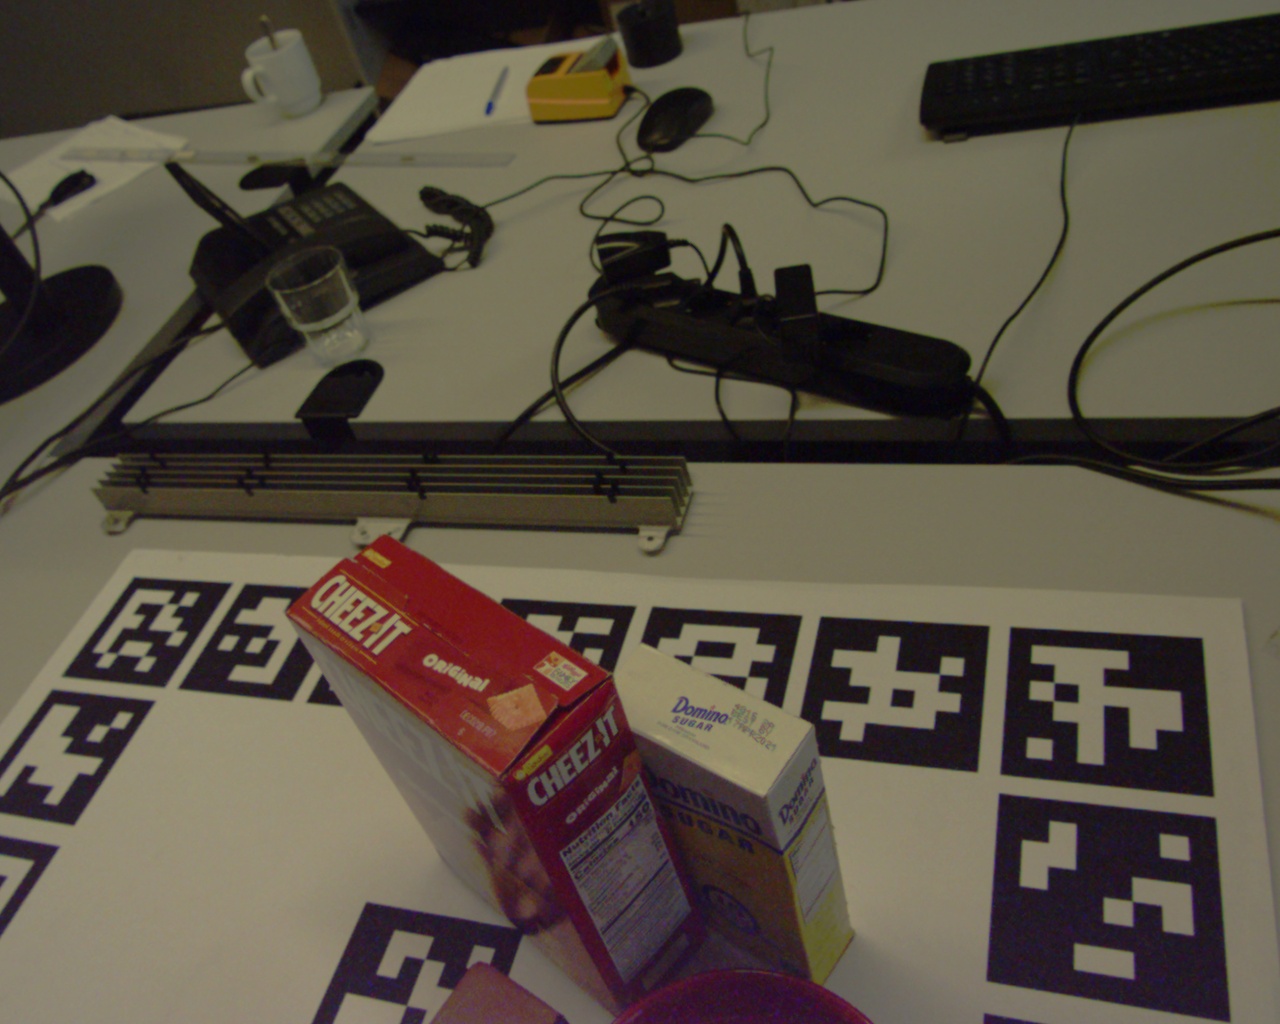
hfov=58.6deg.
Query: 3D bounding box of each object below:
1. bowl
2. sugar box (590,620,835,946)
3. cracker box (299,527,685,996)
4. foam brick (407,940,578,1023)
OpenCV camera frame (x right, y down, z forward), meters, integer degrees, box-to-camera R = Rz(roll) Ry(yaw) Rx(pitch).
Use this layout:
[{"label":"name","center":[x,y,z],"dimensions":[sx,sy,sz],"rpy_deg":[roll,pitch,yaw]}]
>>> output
[{"label":"bowl","center":[0.037,0.277,0.493],"dimensions":[0.162,0.055,0.162],"rpy_deg":[-11,43,10]},{"label":"sugar box","center":[0.038,0.138,0.565],"dimensions":[0.094,0.175,0.045],"rpy_deg":[19,54,36]},{"label":"cracker box","center":[-0.074,0.133,0.587],"dimensions":[0.071,0.212,0.166],"rpy_deg":[-39,46,-25]},{"label":"foam brick","center":[-0.069,0.255,0.562],"dimensions":[0.053,0.077,0.051],"rpy_deg":[14,50,32]}]
